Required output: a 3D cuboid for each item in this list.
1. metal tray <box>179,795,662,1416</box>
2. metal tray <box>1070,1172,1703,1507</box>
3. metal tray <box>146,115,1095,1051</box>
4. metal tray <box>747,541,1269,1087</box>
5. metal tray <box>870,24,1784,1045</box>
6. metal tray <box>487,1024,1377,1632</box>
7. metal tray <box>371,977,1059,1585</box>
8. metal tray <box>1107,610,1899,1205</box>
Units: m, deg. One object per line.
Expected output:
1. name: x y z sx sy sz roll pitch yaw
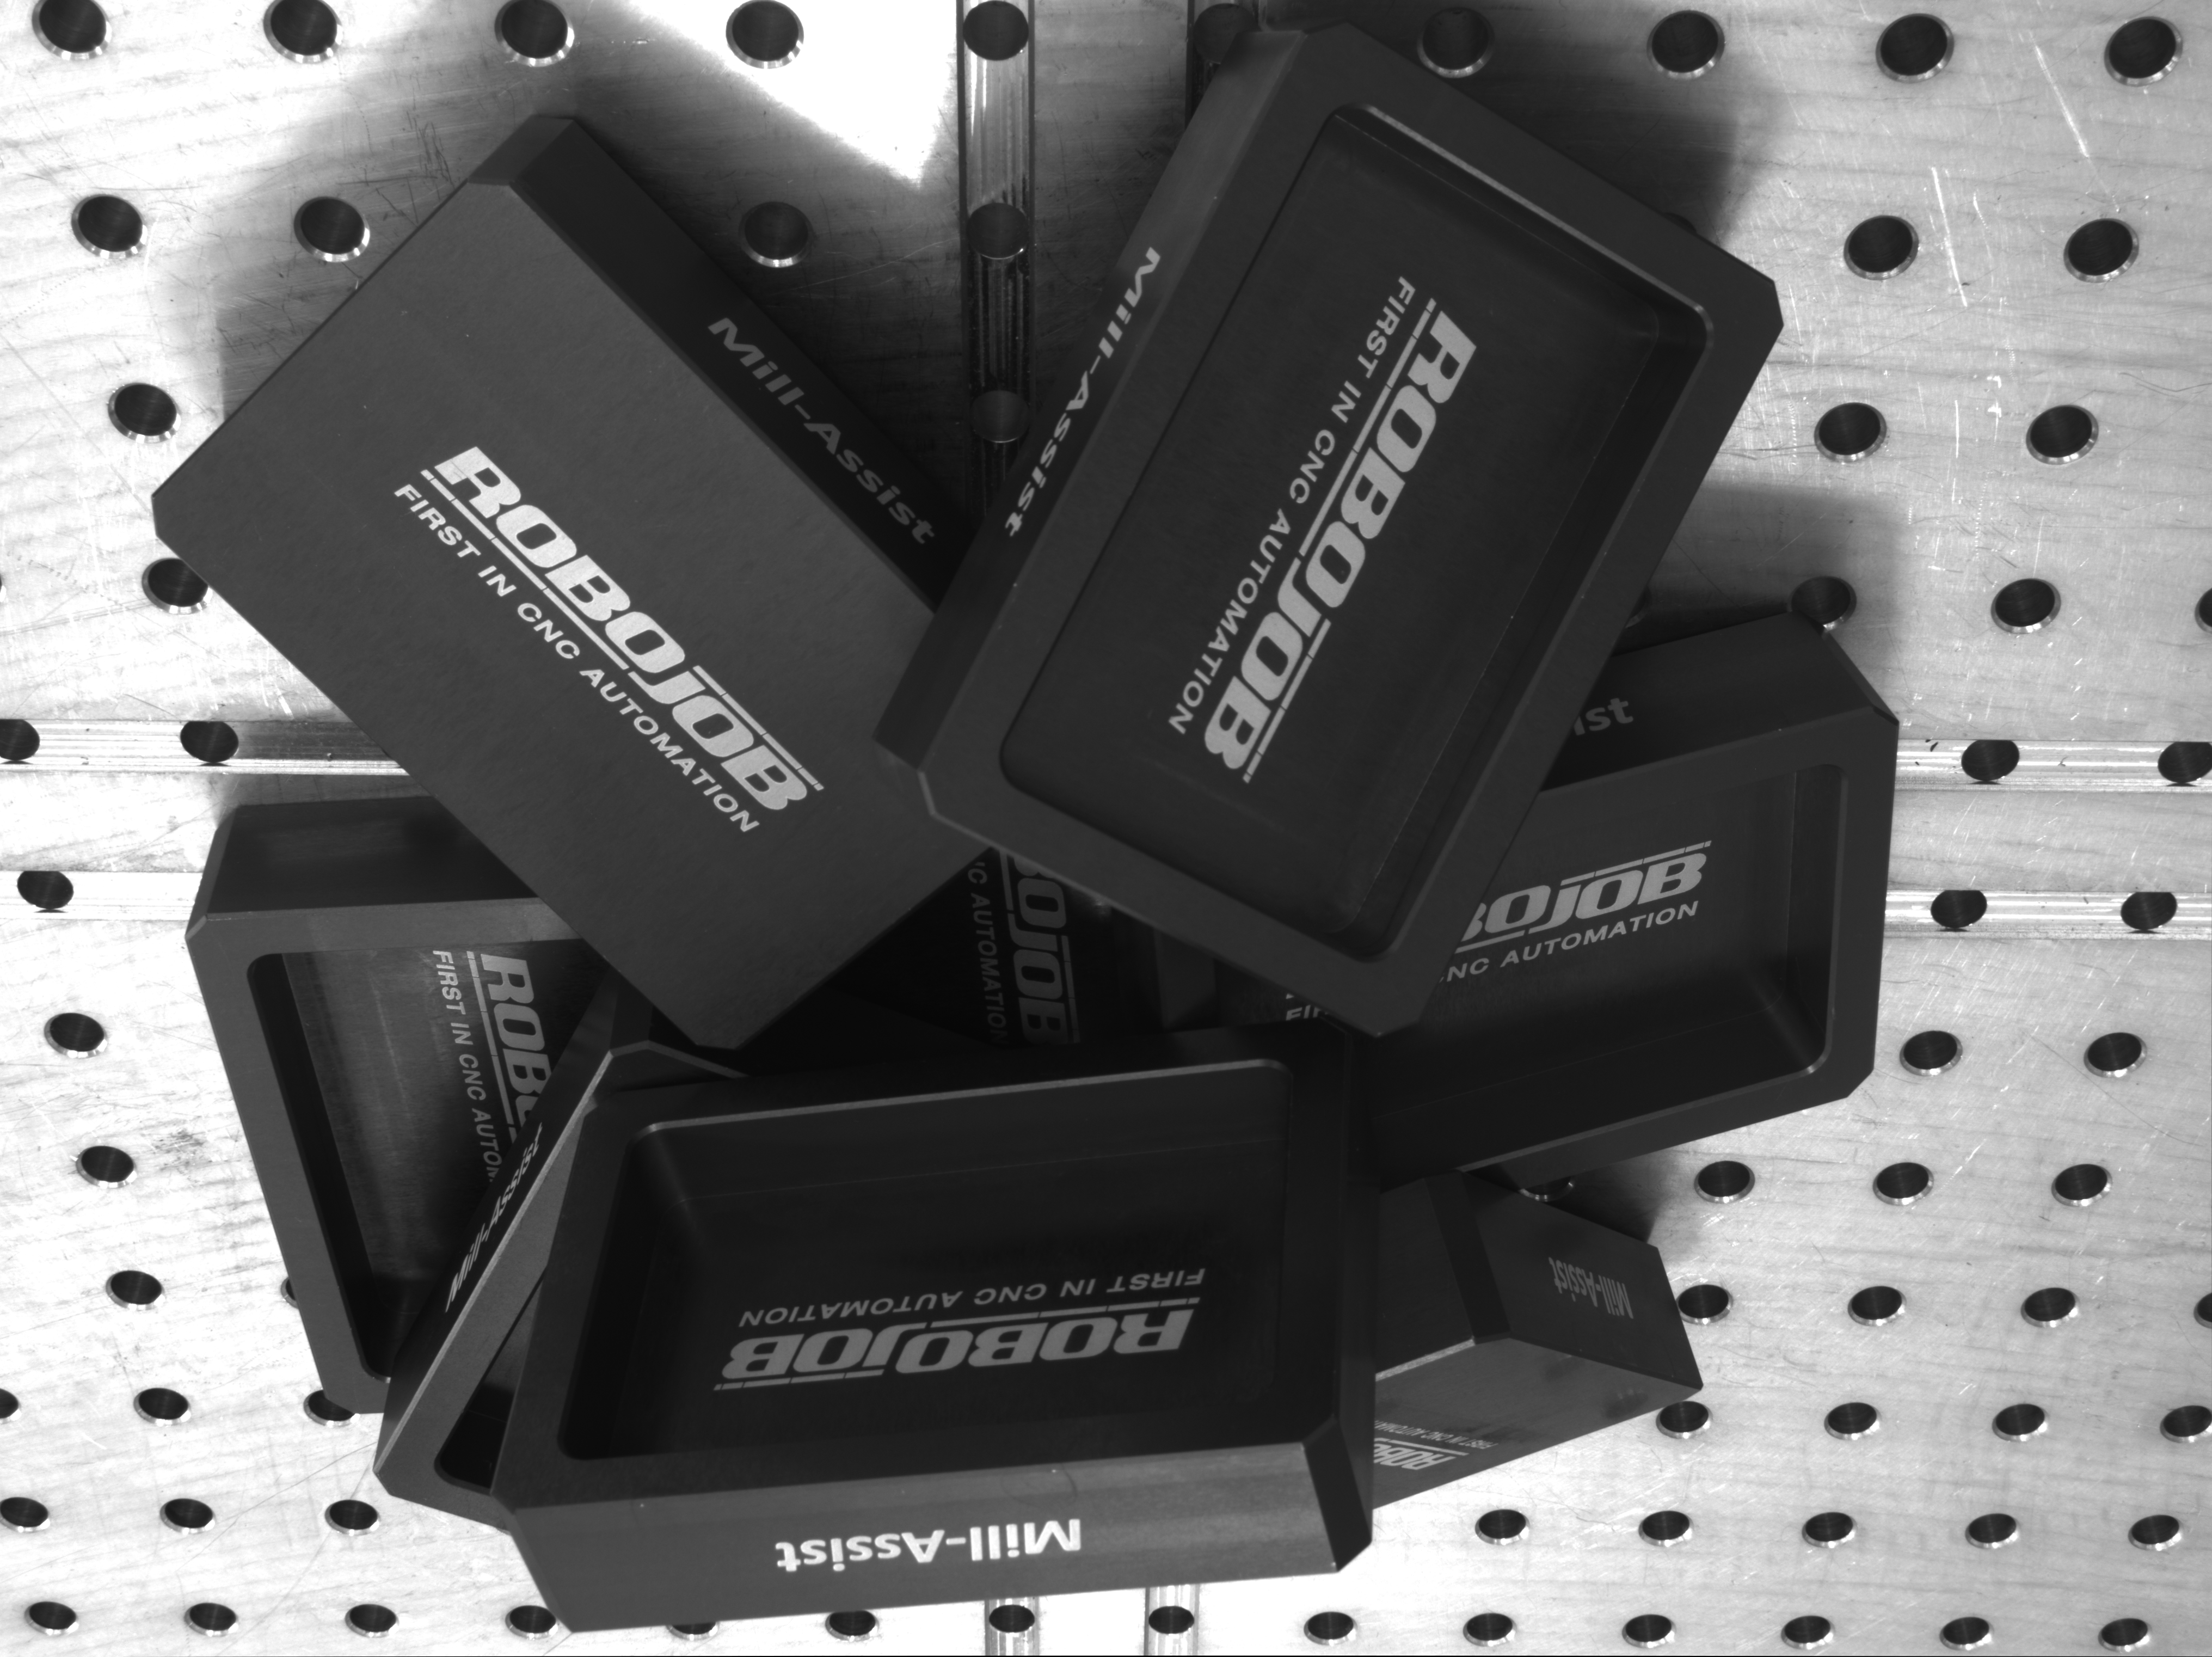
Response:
1. metal tray: -0.111 0.053 0.684 0.090 0.030 0.130 -4 129 2
2. metal tray: 0.049 0.100 0.680 0.090 0.030 0.130 -23 159 19
3. metal tray: -0.076 -0.037 0.587 0.090 0.030 0.130 -38 105 27
4. metal tray: -0.016 0.012 0.650 0.090 0.030 0.130 -5 128 2
5. metal tray: 0.034 -0.044 0.559 0.090 0.030 0.130 27 92 -20
6. metal tray: -0.024 0.078 0.581 0.130 0.090 0.030 -6 130 11
7. metal tray: -0.069 0.085 0.671 0.090 0.030 0.130 21 127 -17
8. metal tray: 0.069 0.020 0.633 0.130 0.030 0.090 -15 131 -10
